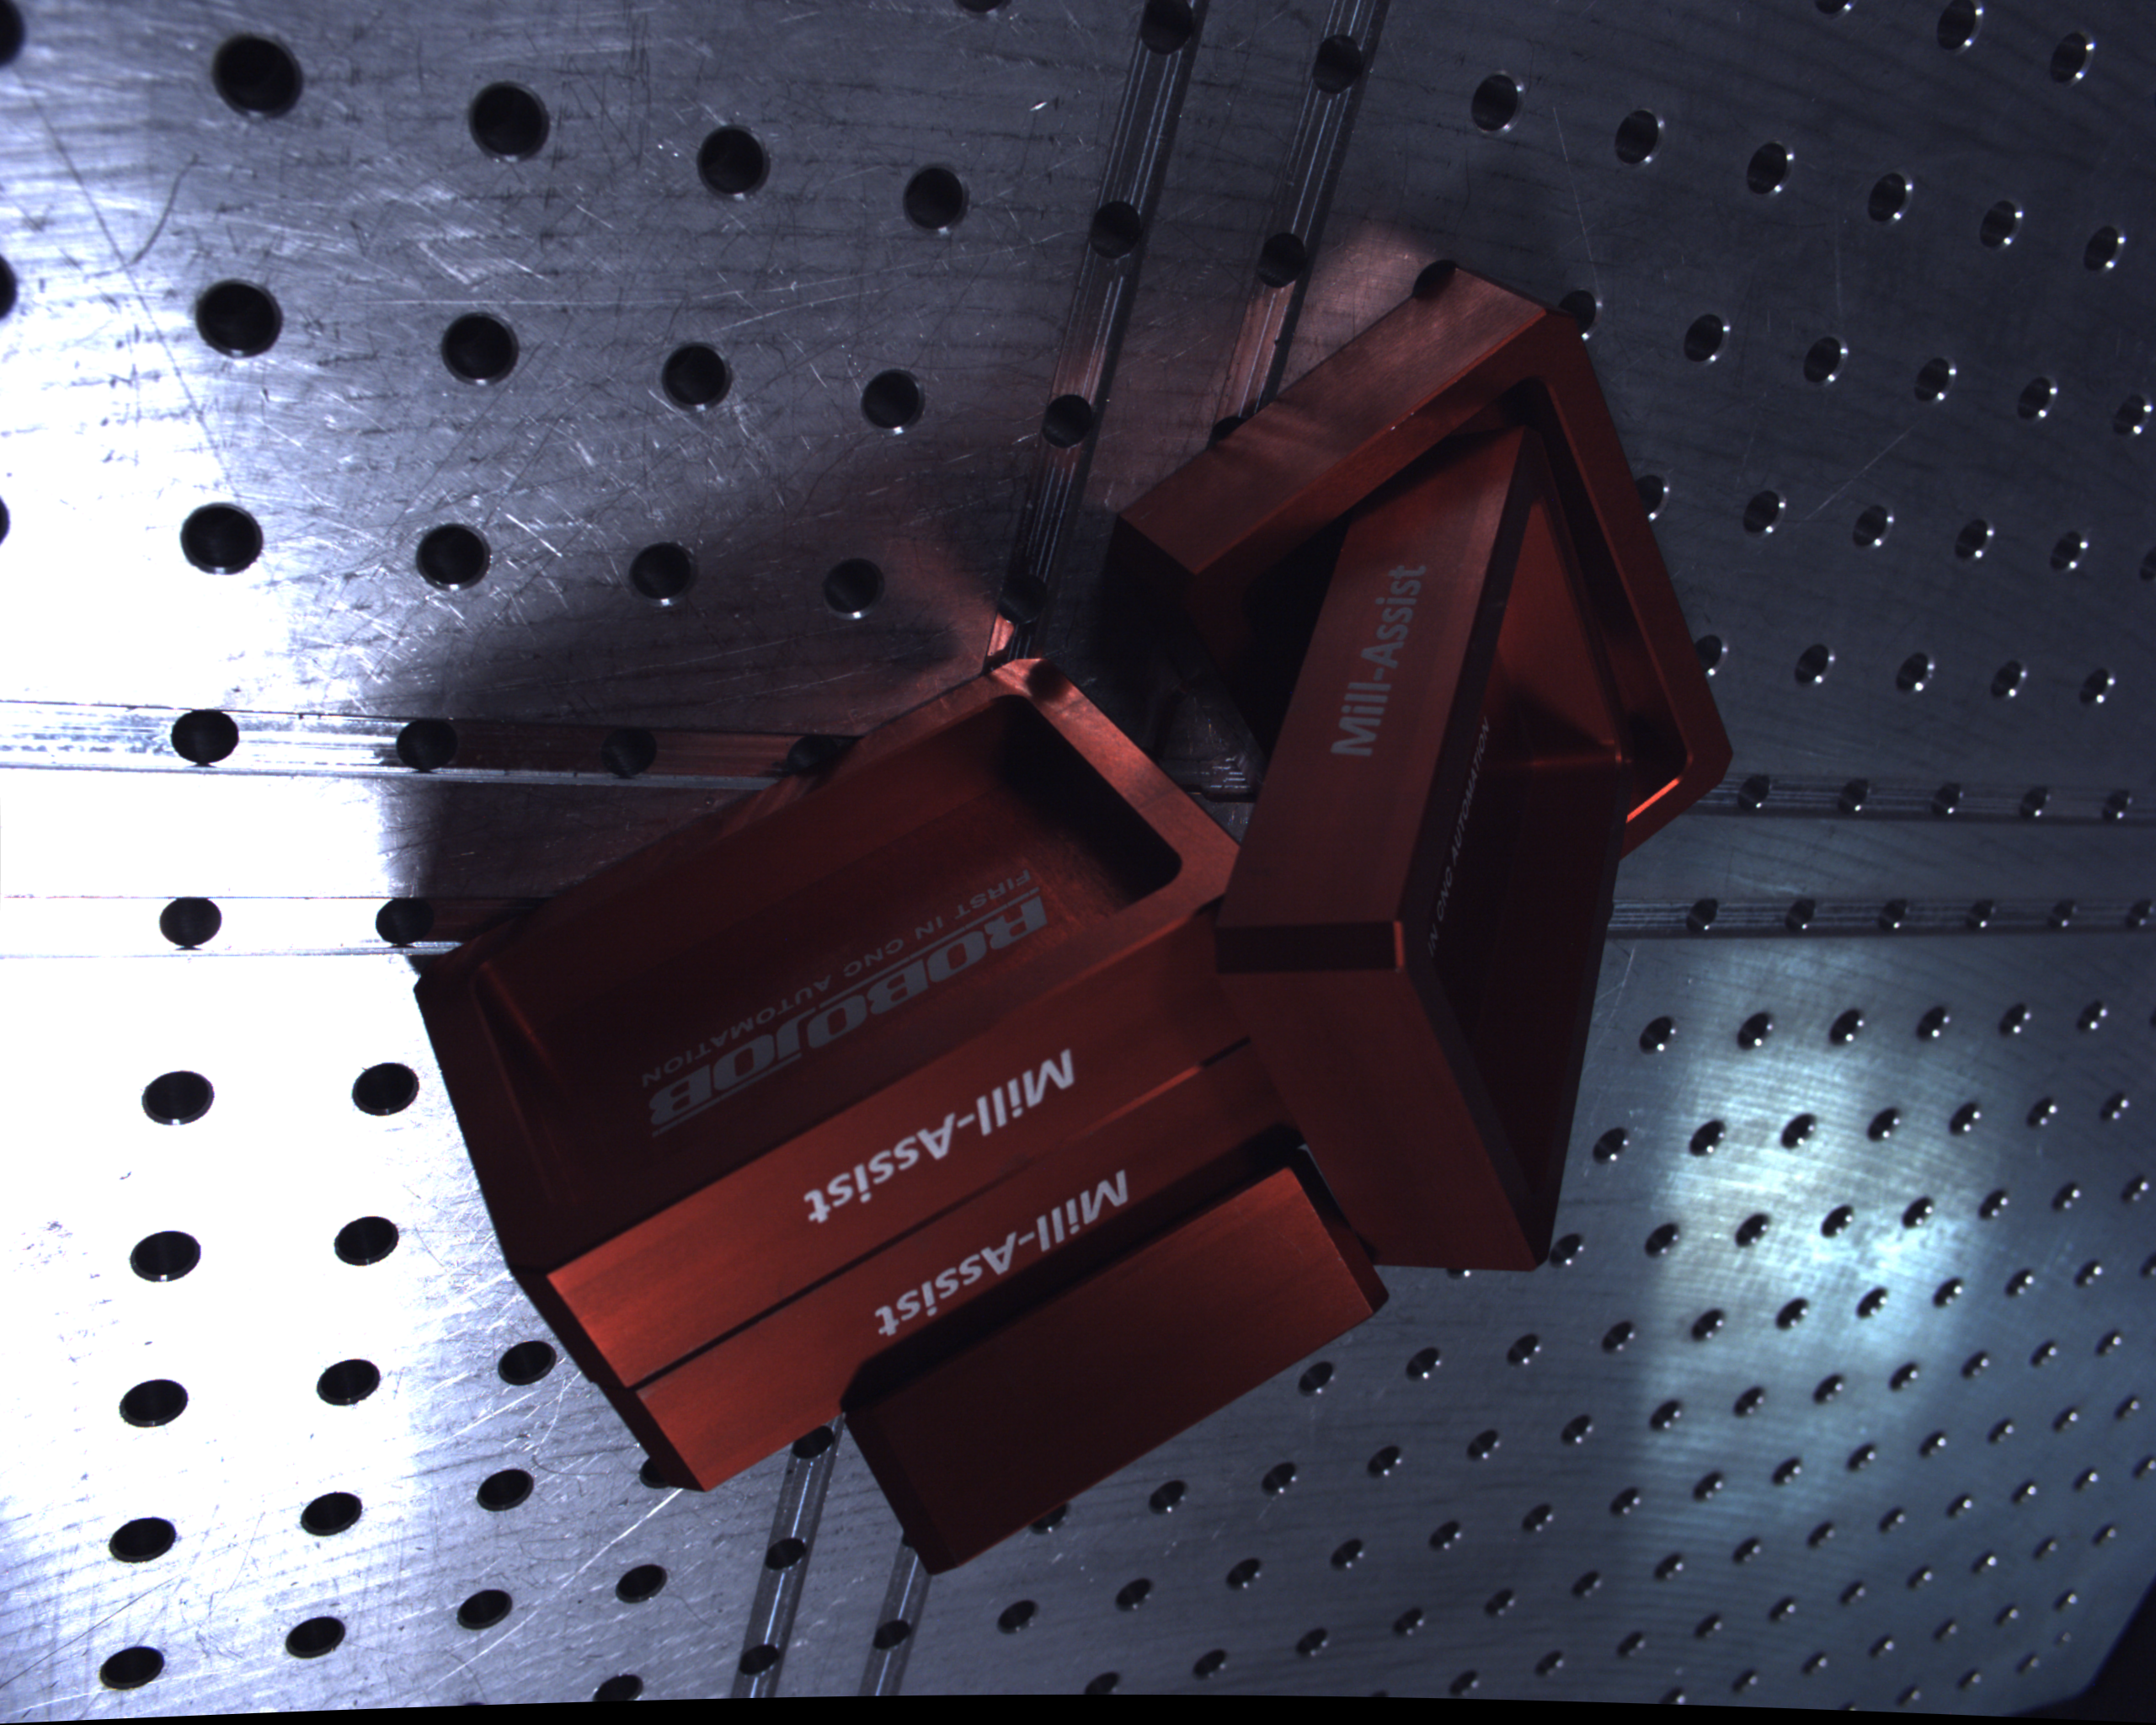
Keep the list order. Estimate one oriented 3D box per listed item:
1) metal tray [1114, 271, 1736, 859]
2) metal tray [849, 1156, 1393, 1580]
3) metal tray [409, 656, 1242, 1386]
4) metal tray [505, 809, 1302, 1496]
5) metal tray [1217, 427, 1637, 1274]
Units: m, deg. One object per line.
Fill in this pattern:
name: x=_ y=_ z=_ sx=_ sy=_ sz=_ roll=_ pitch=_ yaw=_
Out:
metal tray: x=0.075 y=-0.041 z=0.424 sx=0.090 sy=0.030 sz=0.130 roll=-38 pitch=130 yaw=-3
metal tray: x=0.000 y=0.092 z=0.410 sx=0.090 sy=0.130 sz=0.030 roll=-28 pitch=87 yaw=-10
metal tray: x=-0.041 y=0.021 z=0.360 sx=0.131 sy=0.090 sz=0.030 roll=-29 pitch=129 yaw=-11
metal tray: x=-0.031 y=0.044 z=0.378 sx=0.131 sy=0.090 sz=0.030 roll=-29 pitch=129 yaw=-11
metal tray: x=0.069 y=-0.004 z=0.375 sx=0.090 sy=0.030 sz=0.130 roll=61 pitch=37 yaw=-39
